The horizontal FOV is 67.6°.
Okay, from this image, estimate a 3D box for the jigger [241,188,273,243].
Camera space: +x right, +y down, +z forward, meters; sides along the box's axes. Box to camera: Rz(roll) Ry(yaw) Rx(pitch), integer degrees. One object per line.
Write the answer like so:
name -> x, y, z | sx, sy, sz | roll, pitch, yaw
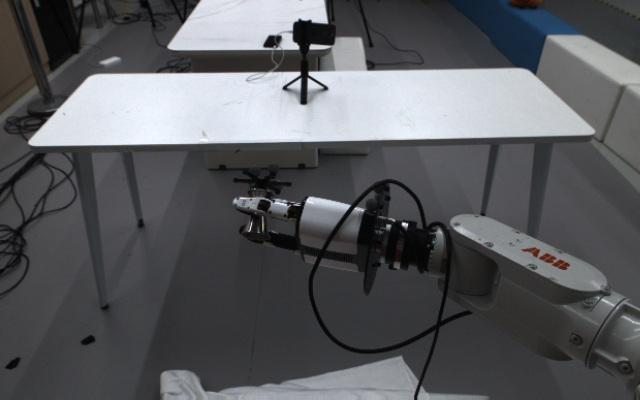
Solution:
jigger -> -0.093, 0.021, 0.716 | 0.043, 0.043, 0.071 | 4, 71, 3
